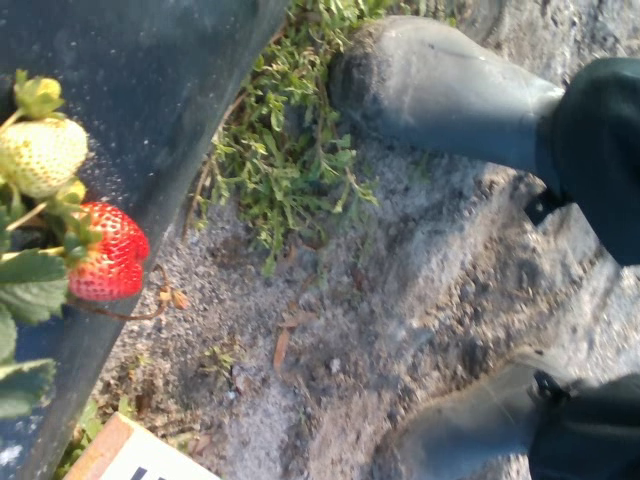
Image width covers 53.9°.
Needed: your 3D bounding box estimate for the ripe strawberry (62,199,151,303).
[{"bbox_3d":[-0.101,0.010,0.311,0.035,0.048,0.050,27,-1,23],"label":"ripe strawberry"}]
